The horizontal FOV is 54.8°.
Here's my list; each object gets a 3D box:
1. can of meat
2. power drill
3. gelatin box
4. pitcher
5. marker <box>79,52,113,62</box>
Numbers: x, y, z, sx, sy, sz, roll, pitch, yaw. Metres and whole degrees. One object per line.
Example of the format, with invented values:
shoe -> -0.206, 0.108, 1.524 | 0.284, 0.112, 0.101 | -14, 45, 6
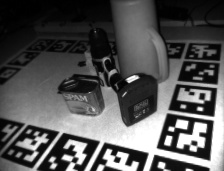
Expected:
can of meat -> -0.070, 0.022, 0.560 | 0.101, 0.084, 0.058 | 6, 42, 22
power drill -> 0.006, -0.048, 0.547 | 0.057, 0.186, 0.184 | -33, 49, -16
gelatin box -> -0.033, -0.082, 0.685 | 0.088, 0.074, 0.030 | 16, 53, 30
pitcher -> 0.083, -0.128, 0.582 | 0.134, 0.245, 0.186 | -35, 37, -17
marker -> -0.057, -0.105, 0.757 | 0.121, 0.020, 0.019 | -13, 40, 3
